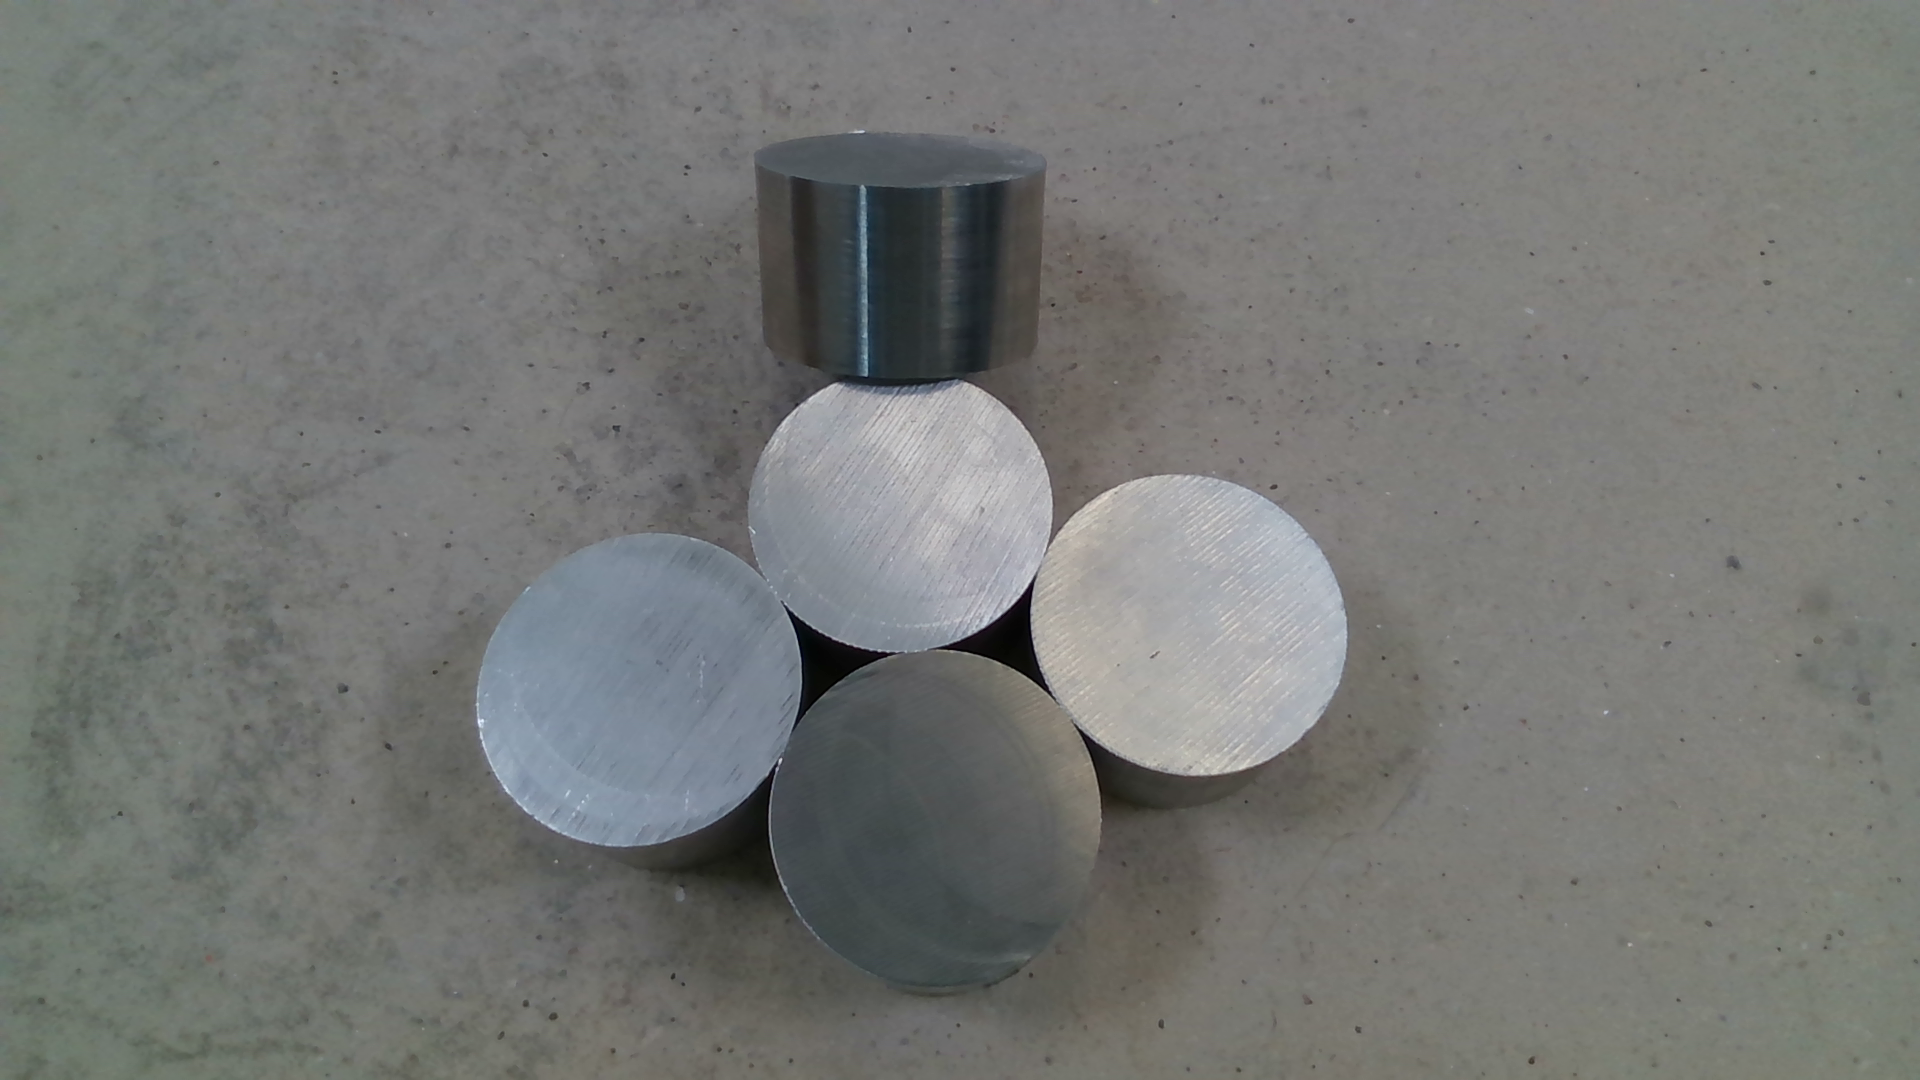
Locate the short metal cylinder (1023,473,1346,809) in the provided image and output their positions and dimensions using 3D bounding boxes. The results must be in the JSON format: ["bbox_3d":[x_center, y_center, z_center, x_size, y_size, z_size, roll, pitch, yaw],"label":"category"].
[{"bbox_3d":[0.058,0.029,0.372,0.080,0.050,0.080,0,70,0],"label":"short metal cylinder"}]

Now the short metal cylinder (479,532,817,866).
[{"bbox_3d":[-0.080,0.044,0.367,0.080,0.050,0.080,0,70,0],"label":"short metal cylinder"}]

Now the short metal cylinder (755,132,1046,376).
[{"bbox_3d":[-0.017,-0.083,0.390,0.080,0.050,0.080,1,26,-1],"label":"short metal cylinder"}]

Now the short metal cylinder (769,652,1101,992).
[{"bbox_3d":[-0.006,0.074,0.356,0.080,0.050,0.080,0,70,0],"label":"short metal cylinder"}]

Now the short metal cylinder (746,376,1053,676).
[{"bbox_3d":[-0.016,-0.001,0.383,0.080,0.050,0.080,0,70,0],"label":"short metal cylinder"}]
